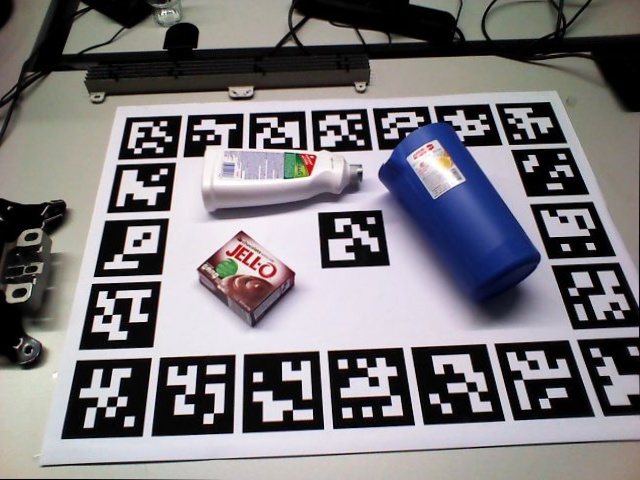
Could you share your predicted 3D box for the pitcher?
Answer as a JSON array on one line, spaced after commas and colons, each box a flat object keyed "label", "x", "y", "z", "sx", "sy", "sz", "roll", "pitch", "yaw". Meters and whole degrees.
[{"label": "pitcher", "x": 0.214, "y": -0.028, "z": 0.743, "sx": 0.188, "sy": 0.134, "sz": 0.242, "roll": -4, "pitch": 56, "yaw": -44}]

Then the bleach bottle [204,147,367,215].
[{"label": "bleach bottle", "x": -0.051, "y": -0.100, "z": 0.810, "sx": 0.251, "sy": 0.068, "sz": 0.102, "roll": -4, "pitch": 62, "yaw": -4}]

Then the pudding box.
[{"label": "pudding box", "x": -0.103, "y": 0.053, "z": 0.723, "sx": 0.114, "sy": 0.039, "sz": 0.089, "roll": 39, "pitch": 60, "yaw": 20}]
